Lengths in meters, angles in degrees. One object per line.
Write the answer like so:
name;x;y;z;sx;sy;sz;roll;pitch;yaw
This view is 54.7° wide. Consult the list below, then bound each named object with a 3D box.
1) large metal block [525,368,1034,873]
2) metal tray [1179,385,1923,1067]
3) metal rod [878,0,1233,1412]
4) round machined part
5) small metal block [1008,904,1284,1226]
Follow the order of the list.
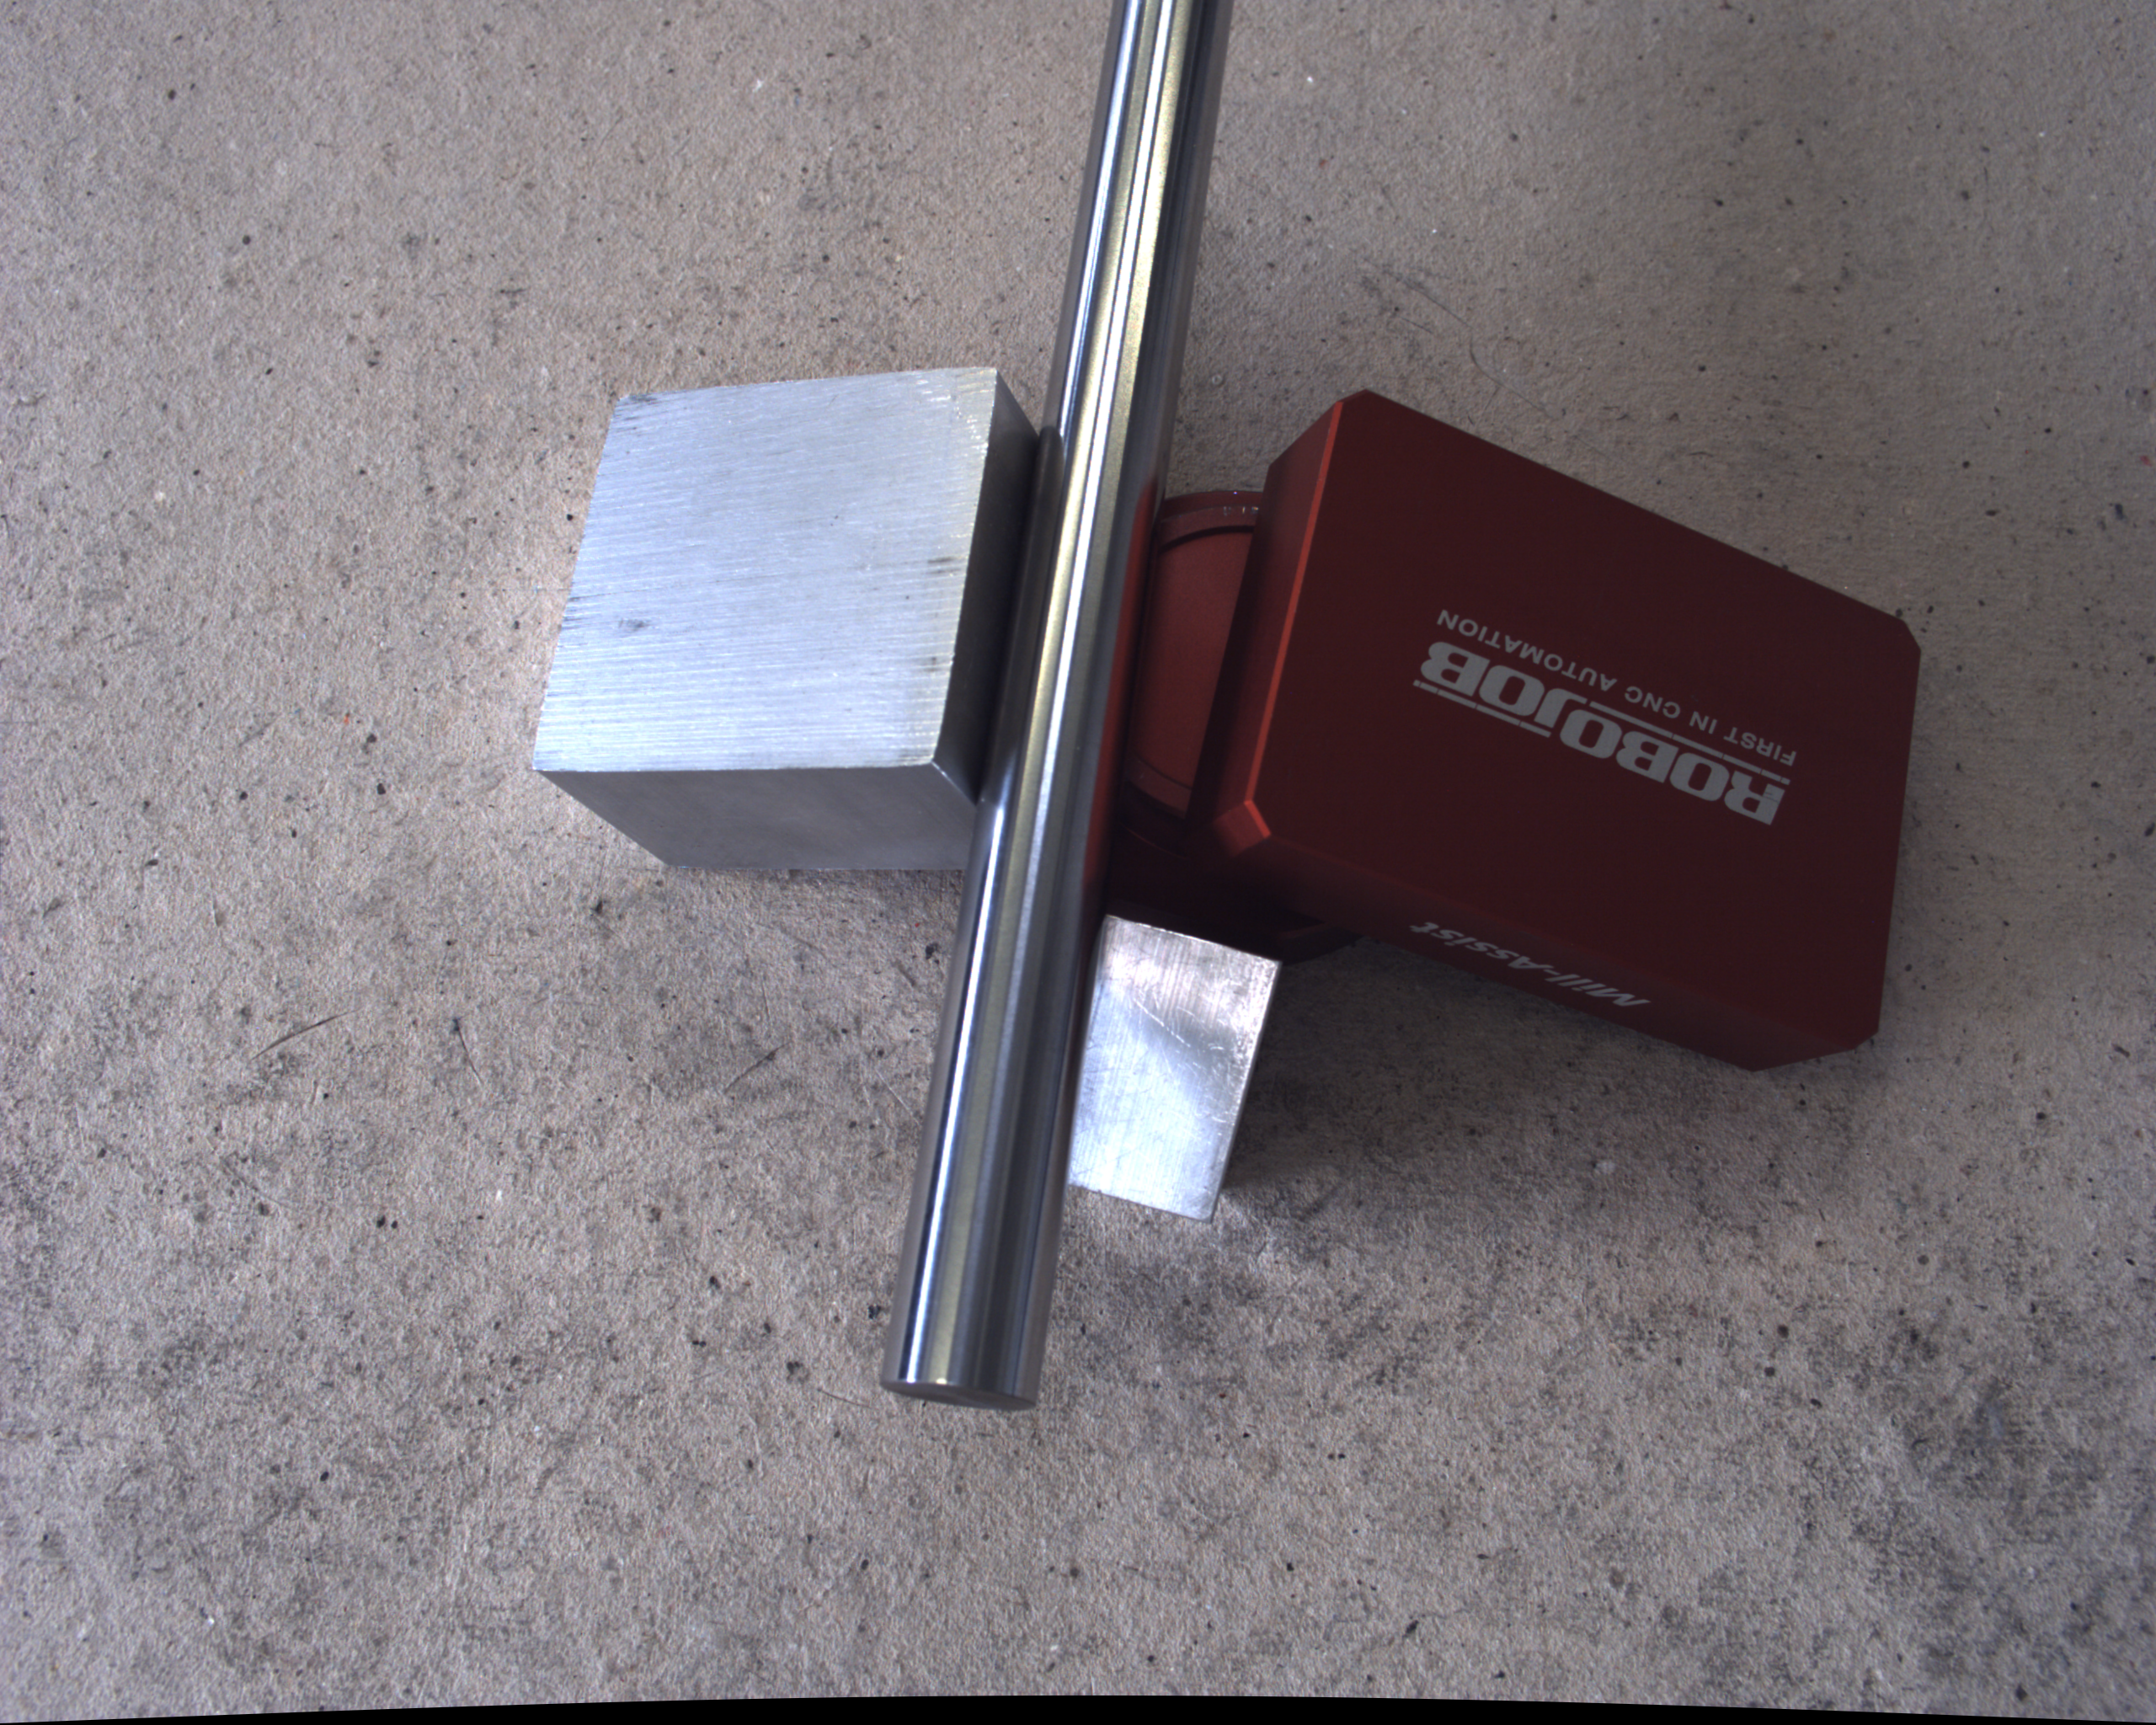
large metal block;-0.049;-0.044;0.400;0.080;0.050;0.080;0;69;19
metal tray;0.092;-0.023;0.392;0.131;0.030;0.090;19;71;-15
metal rod;0.001;-0.053;0.384;0.025;0.025;0.299;7;68;2
round machined part;0.032;-0.031;0.412;0.099;0.042;0.098;0;70;0
small metal block;0.007;0.034;0.387;0.050;0.025;0.050;15;96;6
